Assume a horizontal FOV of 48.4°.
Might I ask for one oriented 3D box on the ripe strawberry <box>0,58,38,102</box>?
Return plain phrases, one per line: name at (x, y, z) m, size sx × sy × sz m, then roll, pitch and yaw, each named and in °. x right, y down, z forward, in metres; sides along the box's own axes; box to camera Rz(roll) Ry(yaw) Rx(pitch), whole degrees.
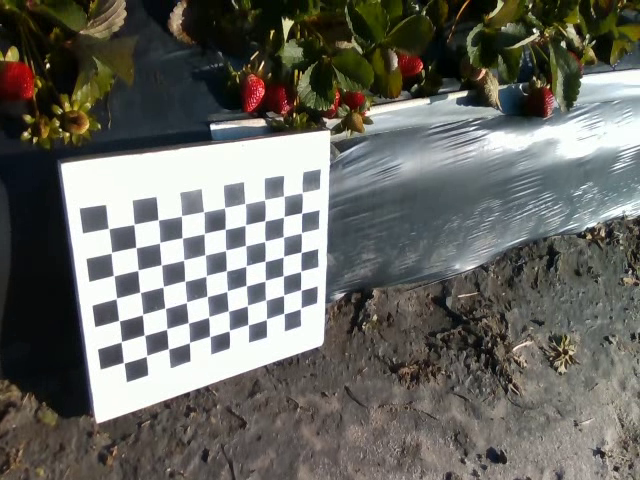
ripe strawberry at (-0.278, -0.140, 0.646) m, size 0.049 × 0.042 × 0.039 m, roll 39°, pitch -5°, yaw 21°
